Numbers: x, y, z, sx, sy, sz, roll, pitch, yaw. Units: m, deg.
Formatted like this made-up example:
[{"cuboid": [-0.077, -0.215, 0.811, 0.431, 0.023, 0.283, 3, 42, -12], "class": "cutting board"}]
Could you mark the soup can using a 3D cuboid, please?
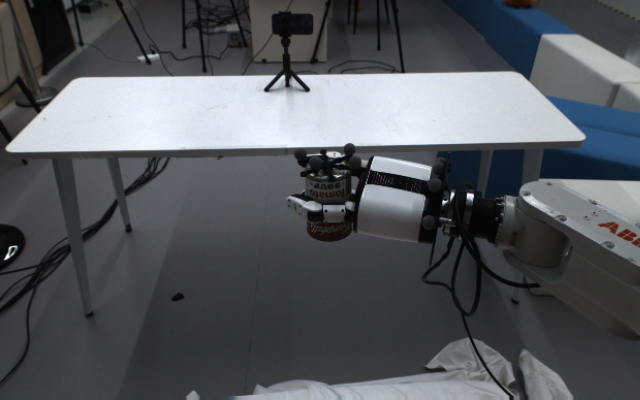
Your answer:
[{"cuboid": [0.013, -0.002, 0.687, 0.067, 0.101, 0.067, -2, 32, 1], "class": "soup can"}]
